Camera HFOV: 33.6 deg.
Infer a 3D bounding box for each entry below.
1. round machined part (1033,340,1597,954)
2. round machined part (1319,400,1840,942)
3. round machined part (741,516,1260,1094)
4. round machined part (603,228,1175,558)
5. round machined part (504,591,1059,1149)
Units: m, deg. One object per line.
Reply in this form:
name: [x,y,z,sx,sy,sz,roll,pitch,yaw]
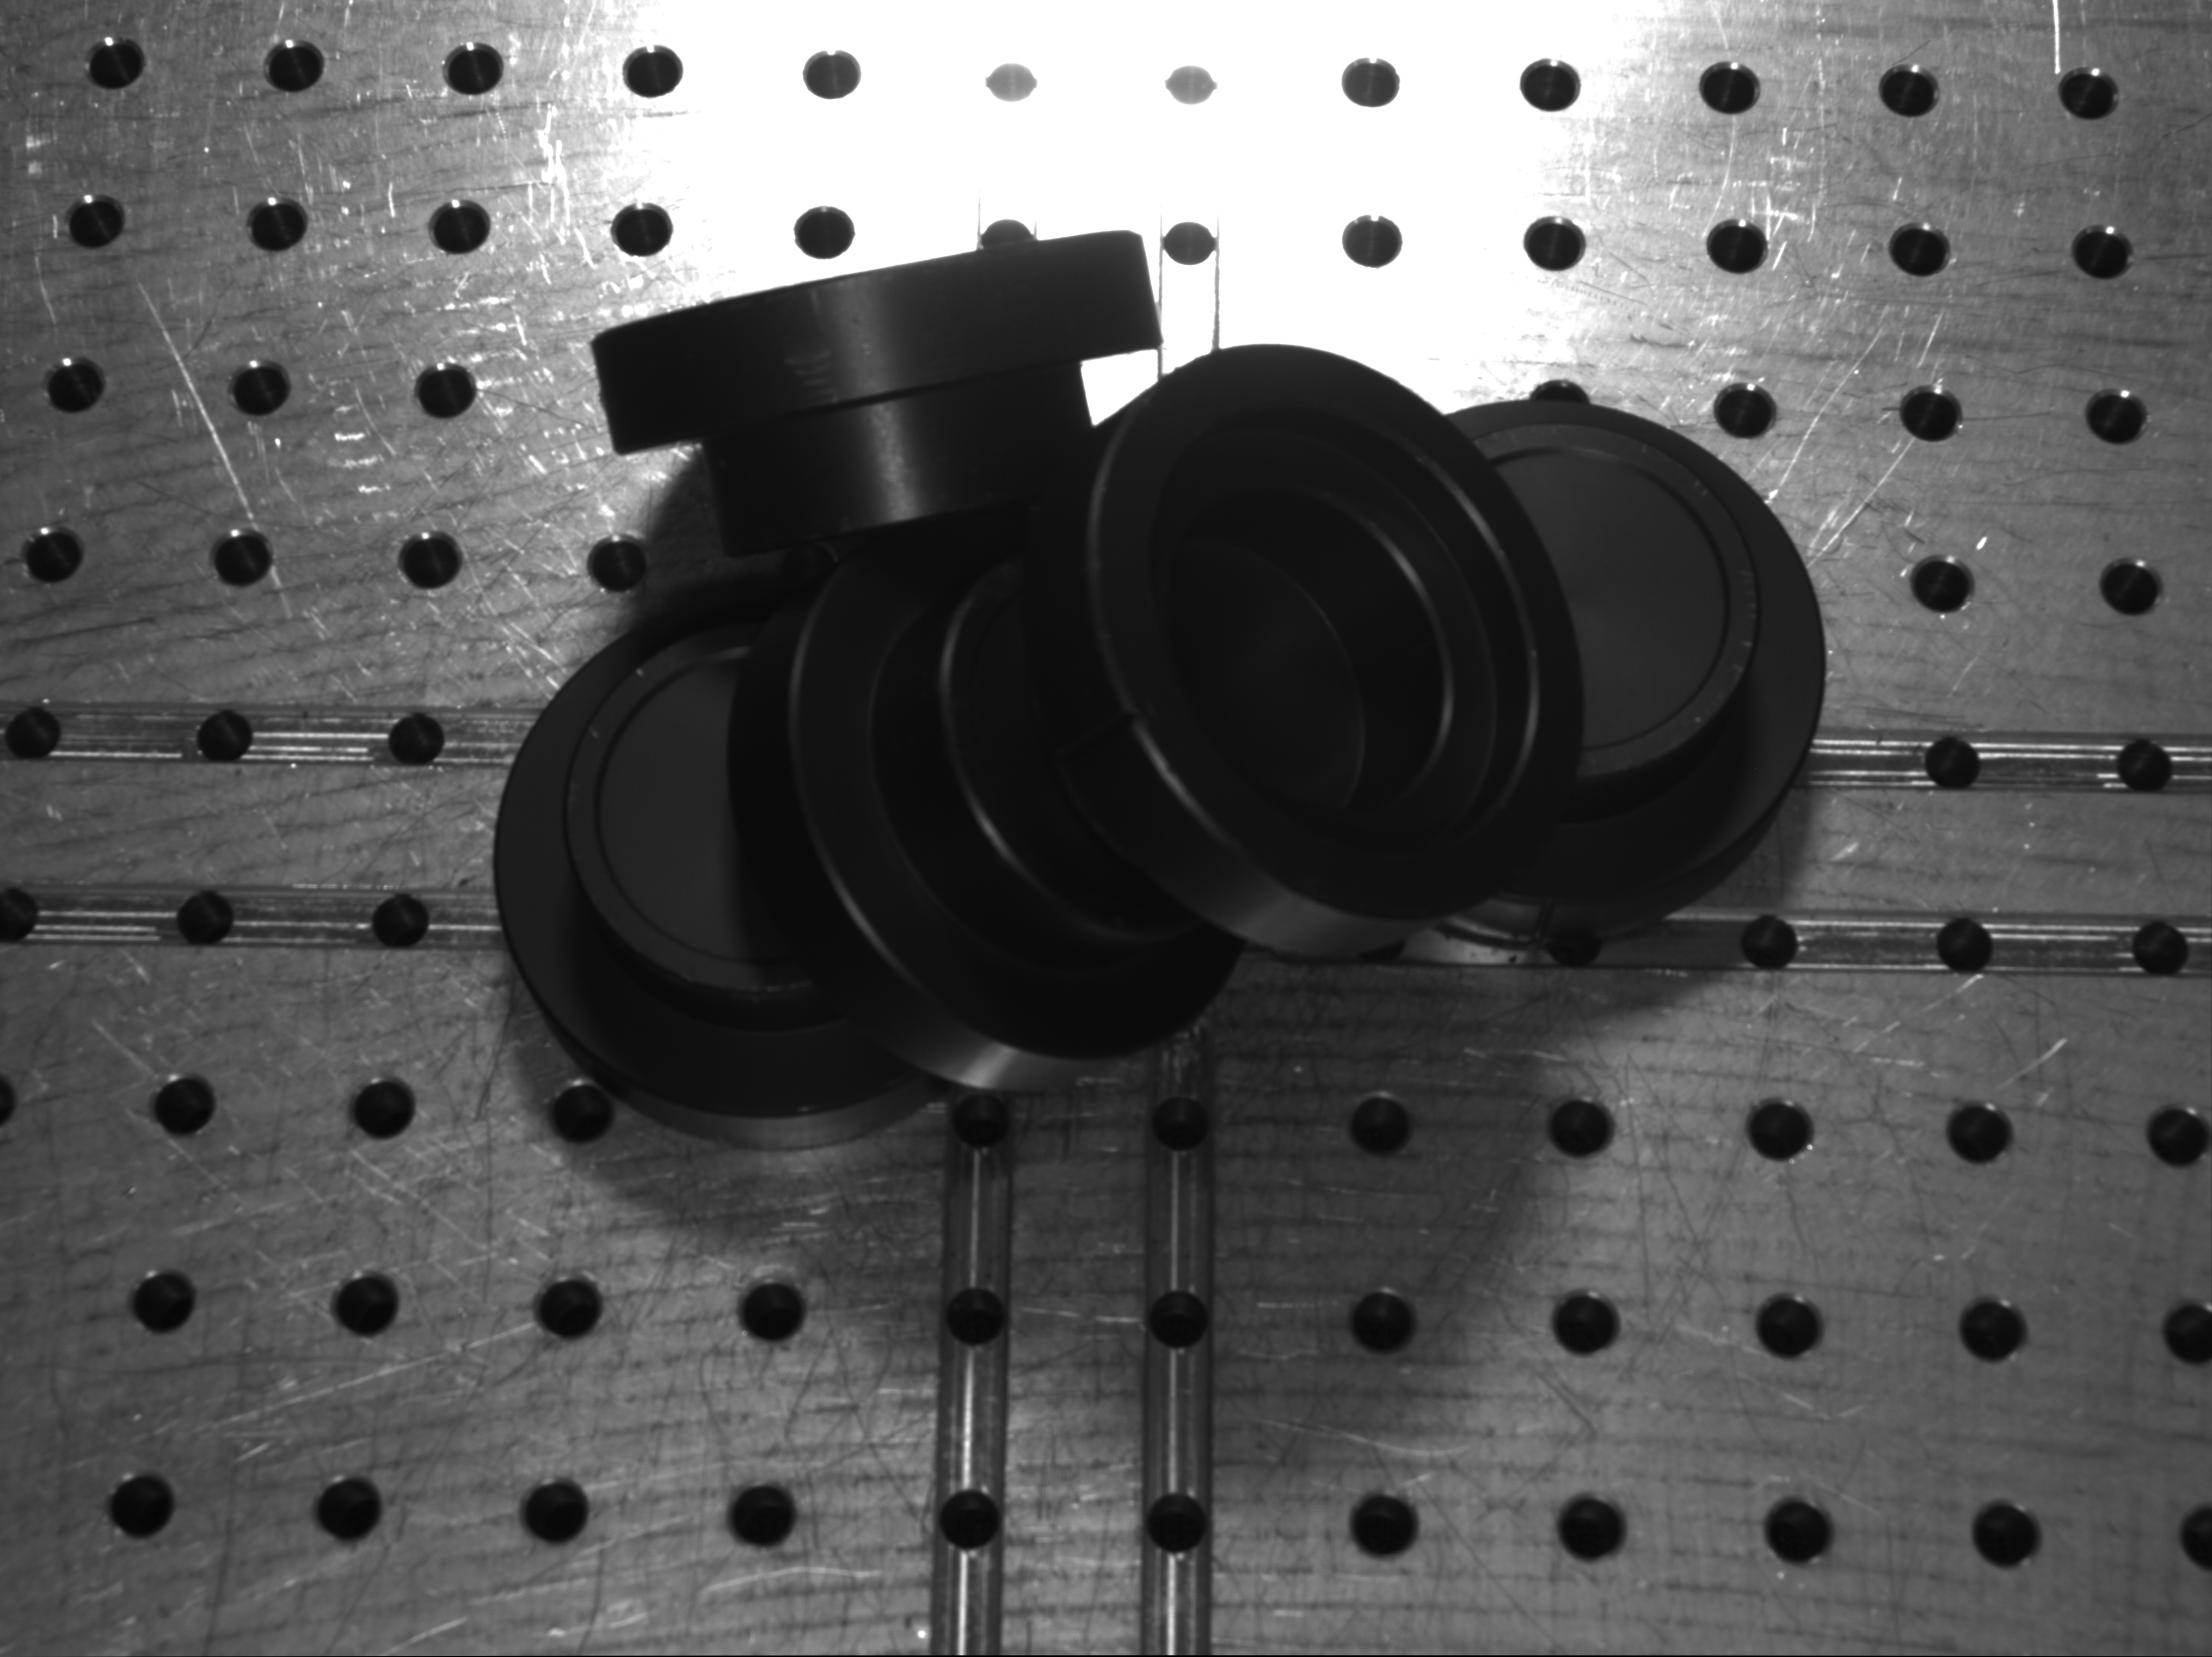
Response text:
round machined part: [0.029,-0.026,0.597,0.098,0.042,0.098,14,65,-30]
round machined part: [0.082,-0.033,0.650,0.098,0.042,0.098,0,70,0]
round machined part: [-0.009,-0.008,0.616,0.098,0.042,0.098,17,61,-33]
round machined part: [-0.036,-0.074,0.641,0.098,0.098,0.042,-12,96,-4]
round machined part: [-0.056,0.003,0.637,0.098,0.042,0.098,0,70,0]
